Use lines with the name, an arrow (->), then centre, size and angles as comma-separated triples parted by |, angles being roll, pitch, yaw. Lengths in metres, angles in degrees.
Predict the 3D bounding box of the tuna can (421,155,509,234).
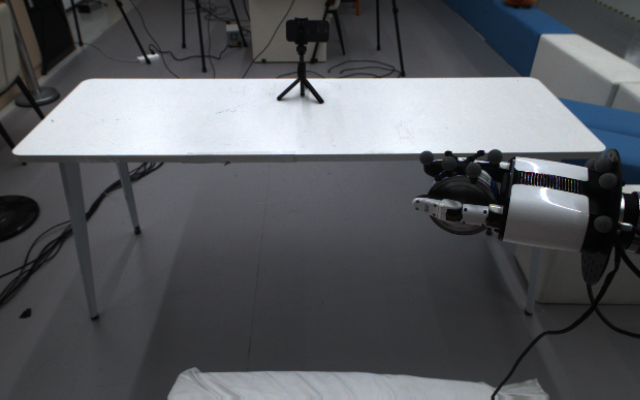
tuna can -> 0.182, -0.001, 0.610 | 0.085, 0.085, 0.034 | 15, 34, 18
